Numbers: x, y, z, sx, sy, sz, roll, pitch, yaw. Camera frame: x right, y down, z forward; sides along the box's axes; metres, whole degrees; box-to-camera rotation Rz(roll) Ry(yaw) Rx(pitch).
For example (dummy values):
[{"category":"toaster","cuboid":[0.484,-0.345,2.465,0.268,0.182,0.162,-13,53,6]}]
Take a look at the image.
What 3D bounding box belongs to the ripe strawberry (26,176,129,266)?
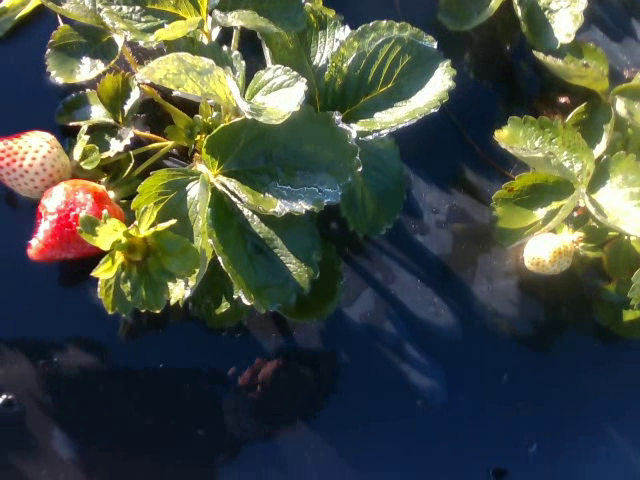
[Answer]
[{"category":"ripe strawberry","cuboid":[-0.113,-0.005,0.273,0.040,0.037,0.056,10,22,20]}]
